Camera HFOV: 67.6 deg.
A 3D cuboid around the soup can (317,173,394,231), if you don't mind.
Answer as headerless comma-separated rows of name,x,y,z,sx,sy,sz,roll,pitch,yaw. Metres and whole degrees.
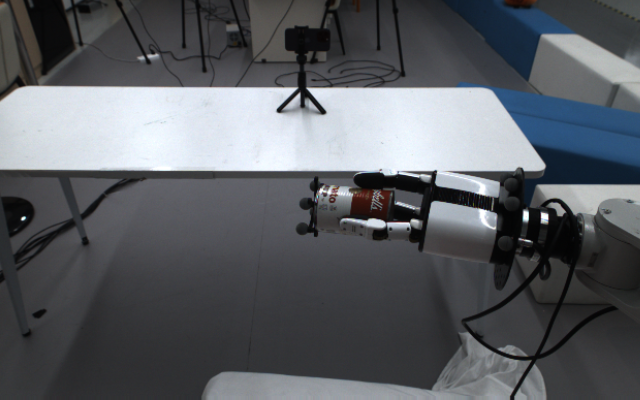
soup can,0.051,0.015,0.667,0.101,0.067,0.067,5,34,13
